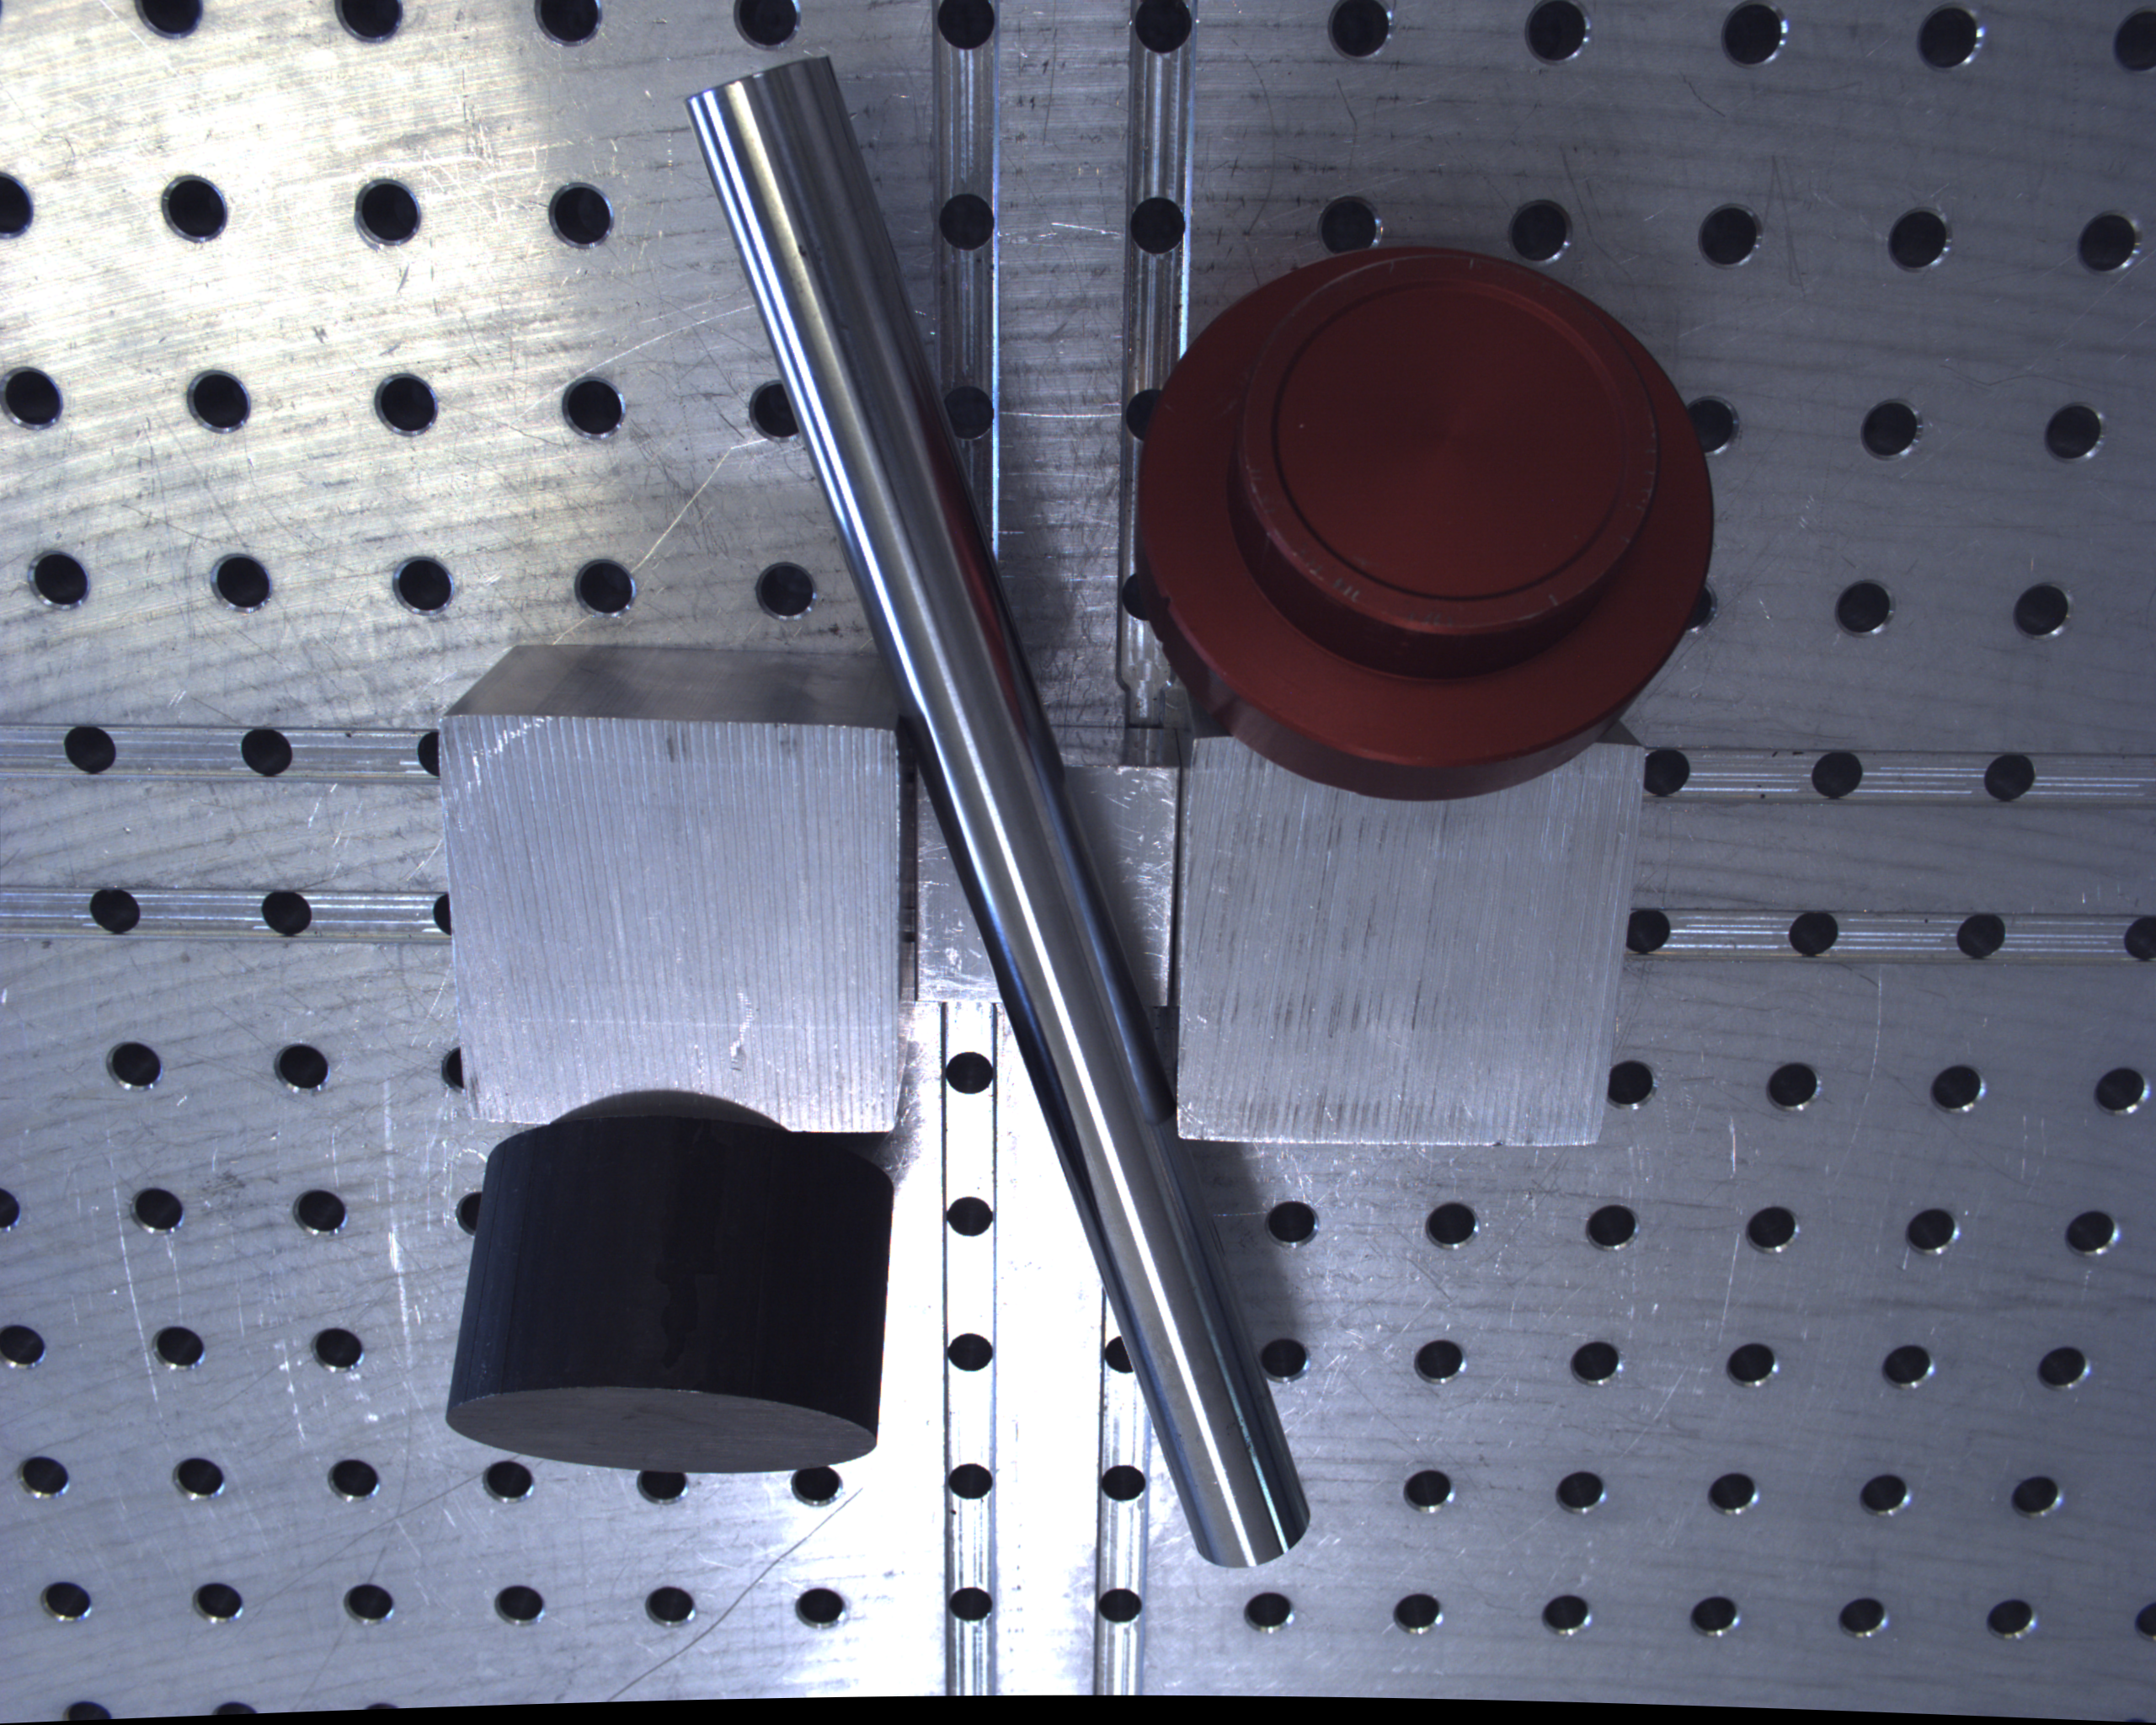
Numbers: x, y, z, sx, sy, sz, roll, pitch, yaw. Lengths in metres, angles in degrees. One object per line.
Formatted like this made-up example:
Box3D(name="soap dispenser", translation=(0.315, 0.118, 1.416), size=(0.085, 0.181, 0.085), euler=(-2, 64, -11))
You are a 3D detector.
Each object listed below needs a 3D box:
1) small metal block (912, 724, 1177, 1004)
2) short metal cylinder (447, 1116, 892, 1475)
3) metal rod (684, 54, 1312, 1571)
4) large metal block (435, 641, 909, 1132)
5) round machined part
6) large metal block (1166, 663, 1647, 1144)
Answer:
Box3D(name="small metal block", translation=(-0.006, 0.000, 0.414), size=(0.050, 0.025, 0.050), euler=(1, 110, -1))
Box3D(name="short metal cylinder", translation=(-0.078, 0.087, 0.408), size=(0.080, 0.050, 0.080), euler=(1, 153, 1))
Box3D(name="metal rod", translation=(-0.008, 0.006, 0.388), size=(0.025, 0.025, 0.298), euler=(-16, 110, 6))
Box3D(name="large metal block", translation=(-0.073, 0.003, 0.401), size=(0.081, 0.050, 0.079), euler=(2, 110, -1))
Box3D(name="round machined part", translation=(0.060, -0.063, 0.355), size=(0.099, 0.042, 0.098), euler=(0, 75, -1))
Box3D(name="large metal block", translation=(0.059, 0.007, 0.404), size=(0.081, 0.050, 0.079), euler=(1, 110, -1))
